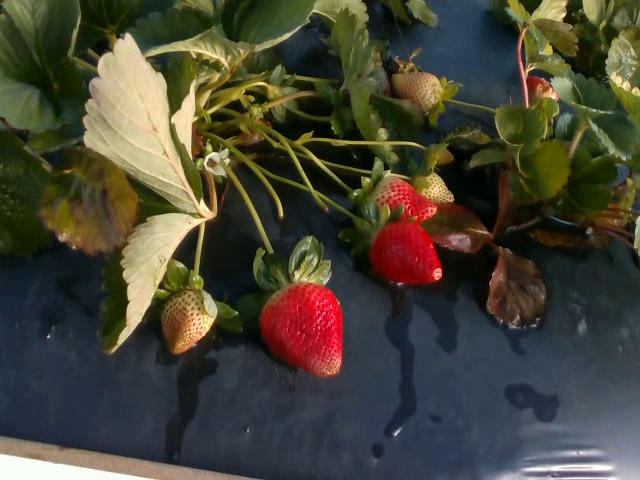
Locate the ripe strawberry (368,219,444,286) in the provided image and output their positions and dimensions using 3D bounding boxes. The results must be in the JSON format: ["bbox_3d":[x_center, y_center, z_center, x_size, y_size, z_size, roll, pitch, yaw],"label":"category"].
[{"bbox_3d":[0.055,0.013,0.375,0.055,0.044,0.042,36,-4,44],"label":"ripe strawberry"}]

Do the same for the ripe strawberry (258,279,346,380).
[{"bbox_3d":[-0.006,0.050,0.327,0.050,0.049,0.065,-27,39,-5],"label":"ripe strawberry"}]
